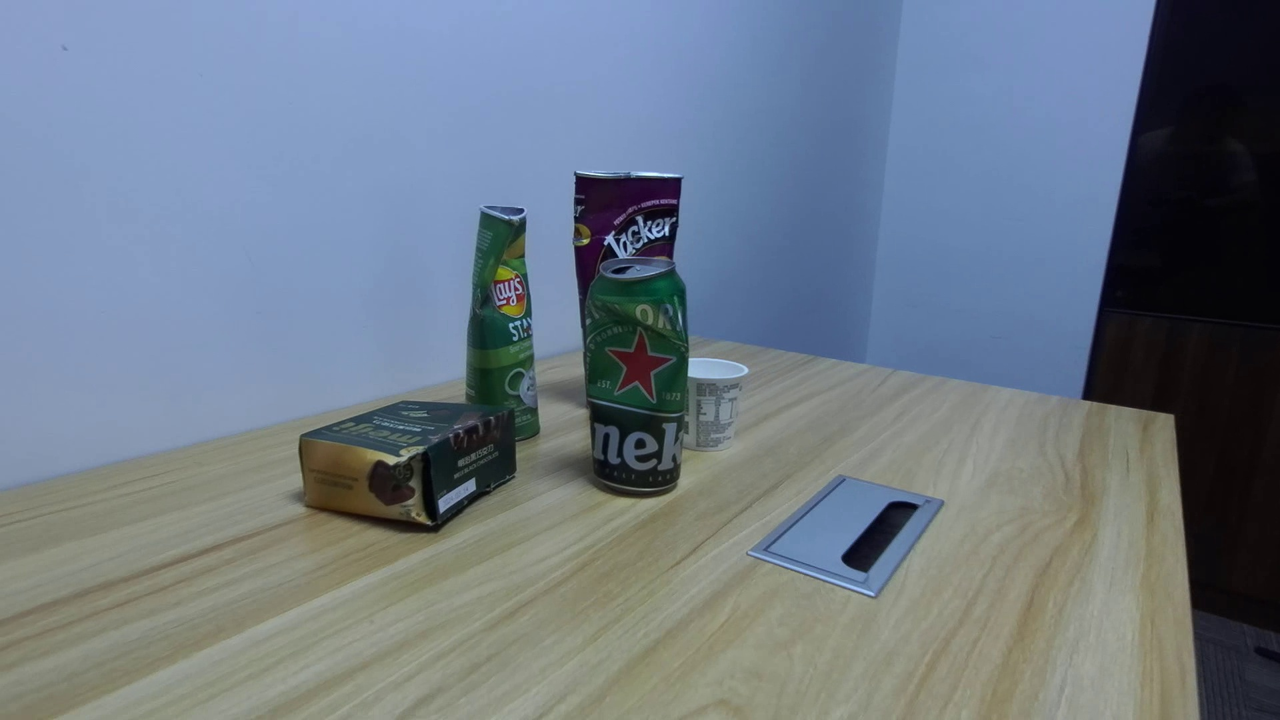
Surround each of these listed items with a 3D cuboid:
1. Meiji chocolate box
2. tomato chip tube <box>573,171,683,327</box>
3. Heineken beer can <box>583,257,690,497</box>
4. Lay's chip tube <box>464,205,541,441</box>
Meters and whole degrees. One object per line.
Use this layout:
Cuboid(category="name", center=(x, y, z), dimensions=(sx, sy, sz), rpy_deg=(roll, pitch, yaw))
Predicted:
Cuboid(category="Meiji chocolate box", center=(-0.164, 0.070, 0.510), dimensions=(0.115, 0.058, 0.123), rpy_deg=(4, 12, 20))
Cuboid(category="tomato chip tube", center=(-0.015, -0.065, 0.701), dimensions=(0.090, 0.235, 0.078), rpy_deg=(7, 16, 12))
Cuboid(category="Heineken beer can", center=(-0.002, 0.014, 0.517), dimensions=(0.069, 0.168, 0.068), rpy_deg=(-5, 16, -15))
Cuboid(category="Lay's chip tube", center=(-0.122, -0.033, 0.623), dimensions=(0.069, 0.201, 0.077), rpy_deg=(-5, 18, -28))
